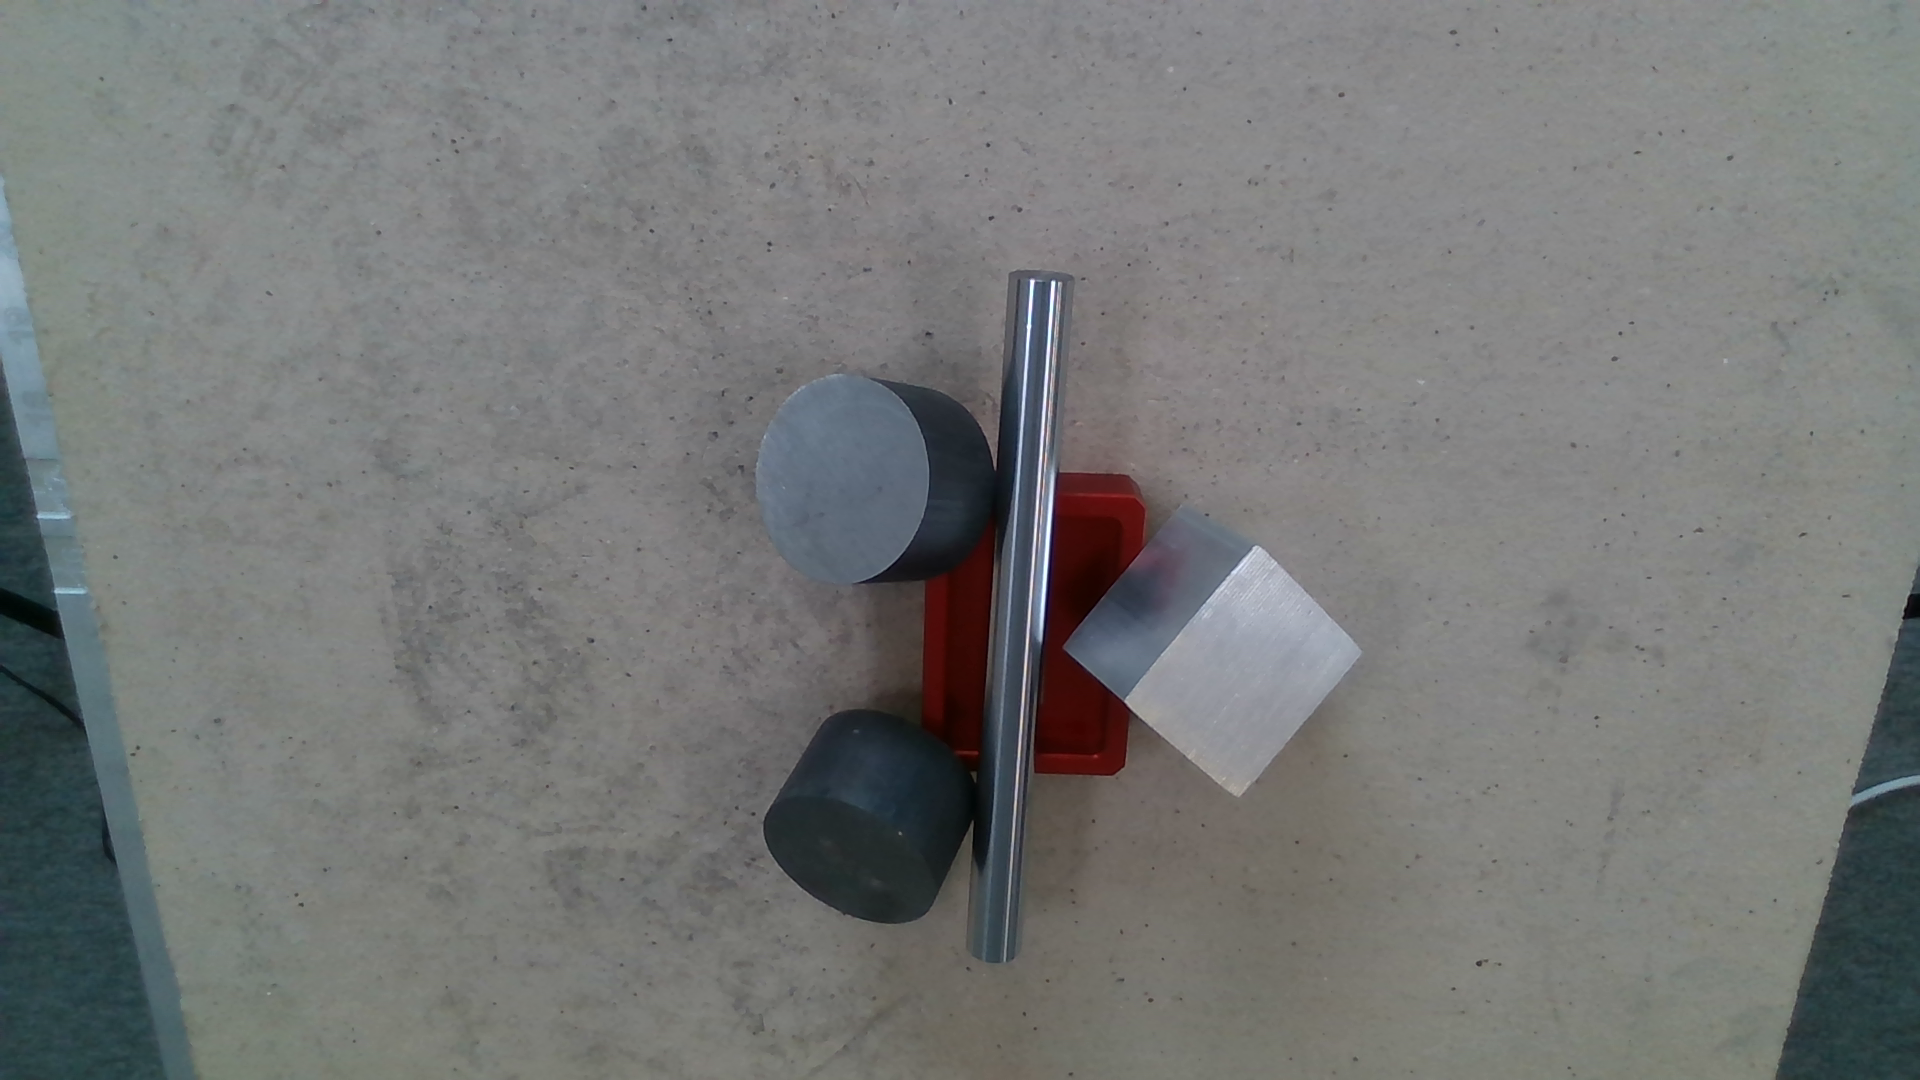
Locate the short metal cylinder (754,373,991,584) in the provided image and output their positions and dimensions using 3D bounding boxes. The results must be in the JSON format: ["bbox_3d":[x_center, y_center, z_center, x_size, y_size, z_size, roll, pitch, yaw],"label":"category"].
[{"bbox_3d":[-0.034,-0.023,0.544,0.080,0.050,0.080,0,90,30],"label":"short metal cylinder"}]

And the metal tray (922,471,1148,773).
[{"bbox_3d":[0.030,0.036,0.596,0.090,0.030,0.130,2,110,-1],"label":"metal tray"}]

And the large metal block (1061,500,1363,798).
[{"bbox_3d":[0.103,0.045,0.565,0.080,0.050,0.080,41,89,-30],"label":"large metal block"}]

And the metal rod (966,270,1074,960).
[{"bbox_3d":[0.023,0.041,0.568,0.025,0.025,0.301,3,110,-1],"label":"metal rod"}]

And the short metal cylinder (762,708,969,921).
[{"bbox_3d":[-0.039,0.120,0.599,0.080,0.050,0.080,14,133,16],"label":"short metal cylinder"}]
